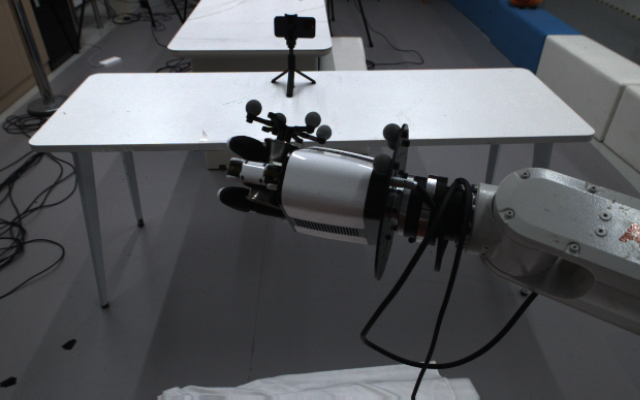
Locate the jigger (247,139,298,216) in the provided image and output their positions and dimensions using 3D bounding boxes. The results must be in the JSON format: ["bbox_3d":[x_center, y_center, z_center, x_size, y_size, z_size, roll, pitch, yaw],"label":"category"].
[{"bbox_3d":[-0.047,-0.027,0.522,0.043,0.071,0.043,15,-7,2],"label":"jigger"}]
